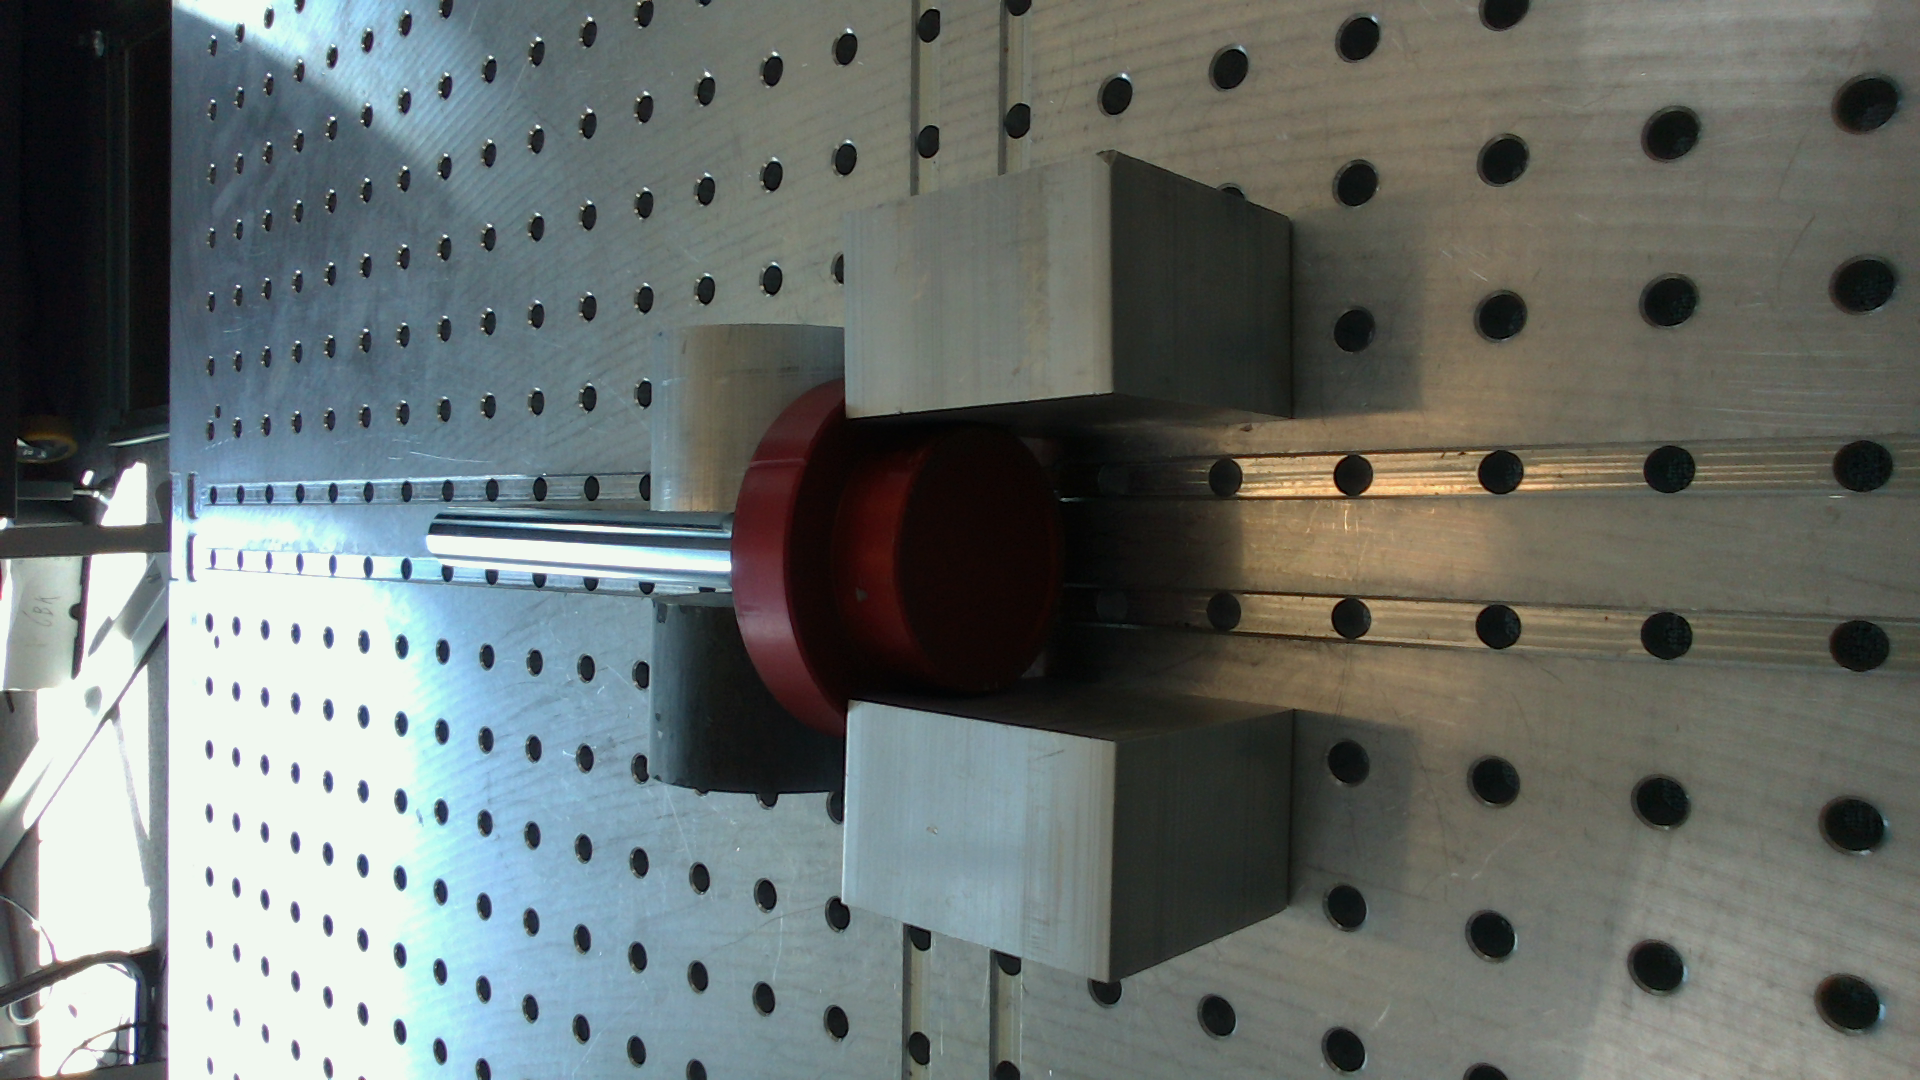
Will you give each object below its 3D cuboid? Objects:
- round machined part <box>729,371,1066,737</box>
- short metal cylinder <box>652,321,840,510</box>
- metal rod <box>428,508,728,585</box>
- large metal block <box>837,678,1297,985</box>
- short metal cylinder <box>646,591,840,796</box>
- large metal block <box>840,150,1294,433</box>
[{"bbox_3d":[-0.009,0.005,0.357,0.042,0.098,0.098,1,91,40],"label":"round machined part"},{"bbox_3d":[-0.050,-0.034,0.404,0.080,0.080,0.050,1,91,40],"label":"short metal cylinder"},{"bbox_3d":[-0.102,0.002,0.469,0.299,0.025,0.025,2,92,44],"label":"metal rod"},{"bbox_3d":[0.027,0.065,0.340,0.080,0.080,0.050,4,92,40],"label":"large metal block"},{"bbox_3d":[-0.051,0.042,0.404,0.080,0.080,0.050,2,92,40],"label":"short metal cylinder"},{"bbox_3d":[0.027,-0.055,0.340,0.080,0.080,0.050,0,90,40],"label":"large metal block"}]
